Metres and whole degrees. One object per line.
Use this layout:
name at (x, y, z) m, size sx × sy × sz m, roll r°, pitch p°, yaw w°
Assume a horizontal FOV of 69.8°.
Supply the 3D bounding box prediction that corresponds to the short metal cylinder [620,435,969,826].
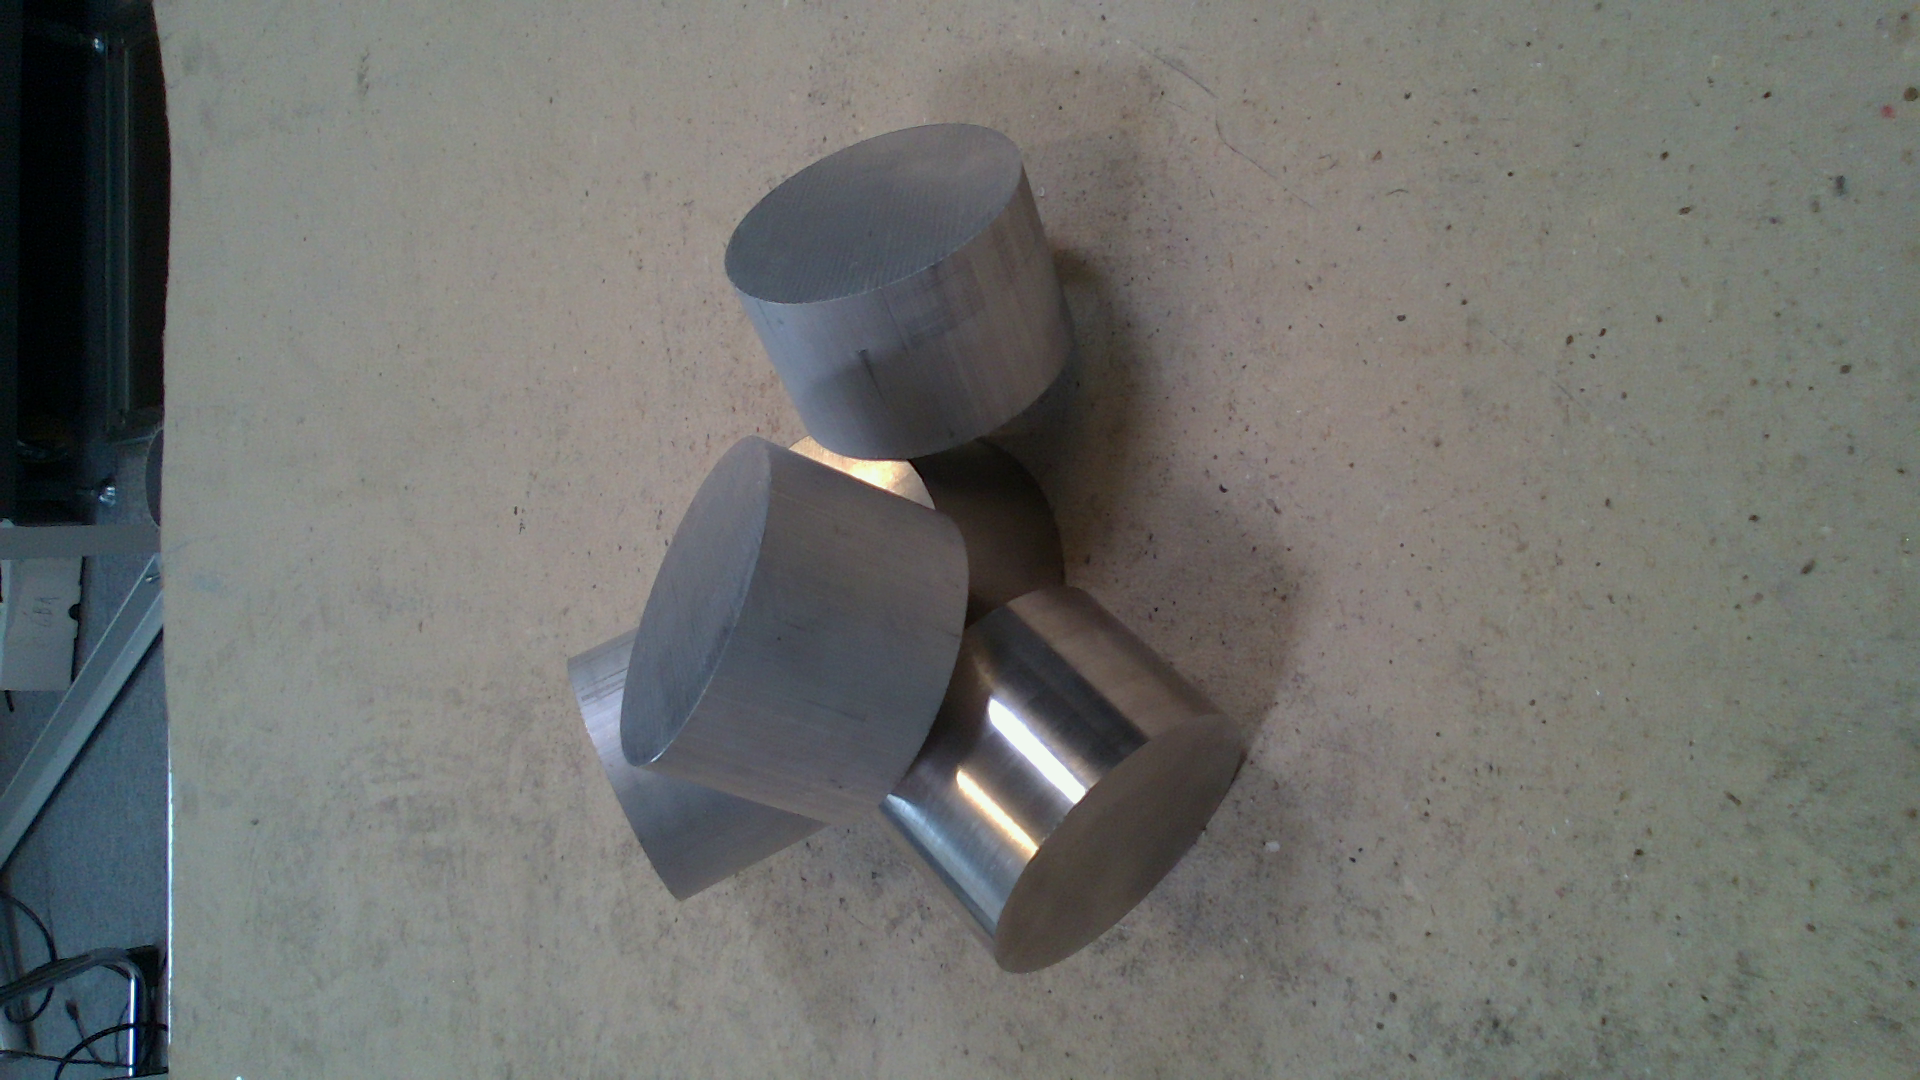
short metal cylinder at (-0.040, 0.022, 0.325) m, size 0.080 × 0.050 × 0.080 m, roll -45°, pitch 32°, yaw 41°

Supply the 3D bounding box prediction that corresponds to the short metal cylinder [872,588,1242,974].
short metal cylinder at (0.023, 0.059, 0.340) m, size 0.050 × 0.080 × 0.080 m, roll 42°, pitch 115°, yaw 32°

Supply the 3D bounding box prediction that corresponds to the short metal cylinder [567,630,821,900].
short metal cylinder at (-0.078, 0.061, 0.418) m, size 0.080 × 0.050 × 0.080 m, roll 61°, pitch 169°, yaw 21°

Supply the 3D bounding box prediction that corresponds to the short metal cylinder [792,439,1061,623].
short metal cylinder at (-0.018, 0.009, 0.394) m, size 0.080 × 0.050 × 0.080 m, roll -1°, pitch 89°, yaw 40°

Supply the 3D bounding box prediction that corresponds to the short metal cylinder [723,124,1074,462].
short metal cylinder at (-0.015, -0.066, 0.364) m, size 0.080 × 0.080 × 0.050 m, roll 18°, pitch 145°, yaw 39°
